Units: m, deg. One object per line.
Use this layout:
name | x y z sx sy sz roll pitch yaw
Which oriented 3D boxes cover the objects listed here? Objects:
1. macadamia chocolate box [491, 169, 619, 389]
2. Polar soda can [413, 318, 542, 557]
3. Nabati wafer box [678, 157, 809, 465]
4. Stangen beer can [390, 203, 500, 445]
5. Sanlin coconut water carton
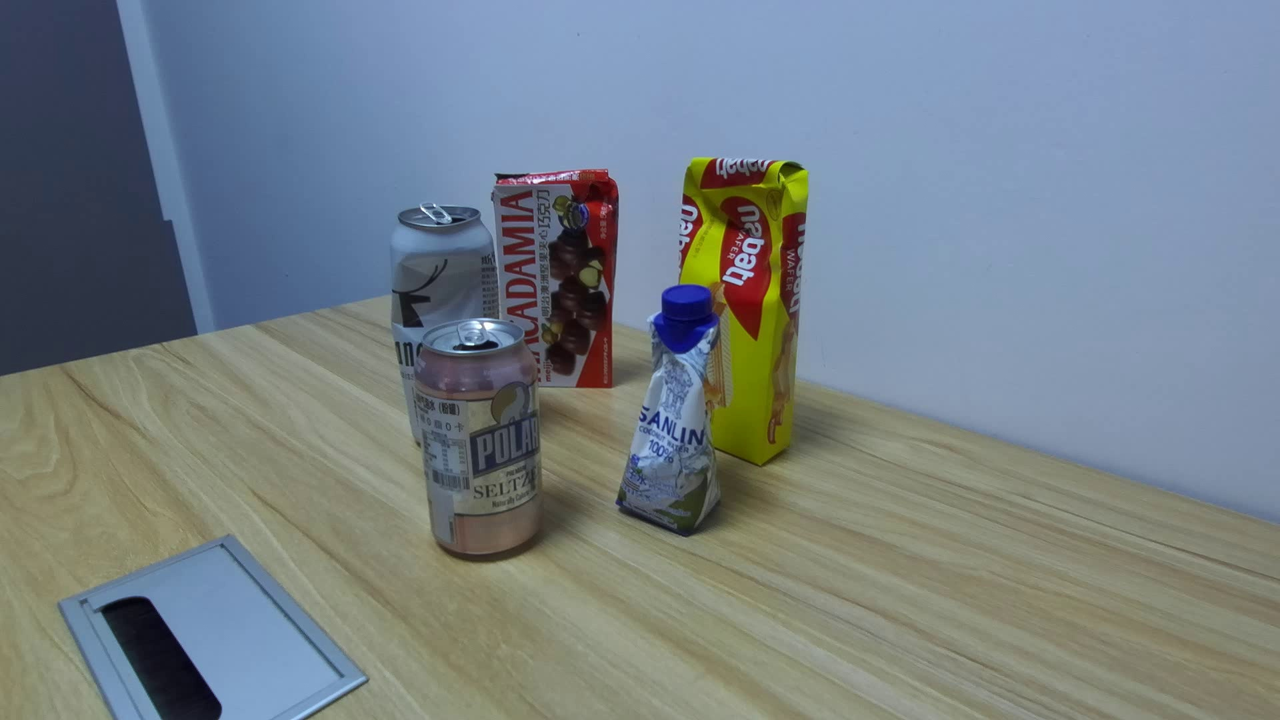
macadamia chocolate box | -0.068 -0.065 0.596 0.102 0.187 0.027 1 25 3
Polar soda can | -0.090 0.044 0.402 0.067 0.125 0.067 1 21 0
Nabati wafer box | 0.065 -0.035 0.499 0.112 0.205 0.043 17 24 39
Stangen beer can | -0.136 -0.023 0.503 0.070 0.173 0.070 17 28 33
Sanlin coconut water carton | 0.031 0.027 0.426 0.056 0.144 0.069 18 18 23
